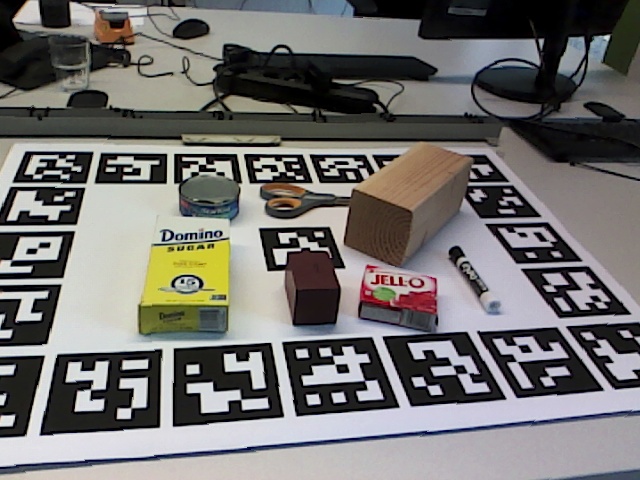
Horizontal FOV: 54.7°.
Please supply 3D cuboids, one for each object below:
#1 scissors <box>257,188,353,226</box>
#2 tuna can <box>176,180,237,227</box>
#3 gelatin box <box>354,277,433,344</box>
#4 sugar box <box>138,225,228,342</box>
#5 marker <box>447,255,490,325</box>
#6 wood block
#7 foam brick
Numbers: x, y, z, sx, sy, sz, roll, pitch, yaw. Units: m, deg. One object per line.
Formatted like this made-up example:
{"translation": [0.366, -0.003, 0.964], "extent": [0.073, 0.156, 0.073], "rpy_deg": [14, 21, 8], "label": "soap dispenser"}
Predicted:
{"translation": [0.005, -0.049, 0.933], "extent": [0.202, 0.016, 0.088], "rpy_deg": [2, 35, -3], "label": "scissors"}
{"translation": [-0.162, -0.050, 0.888], "extent": [0.085, 0.033, 0.086], "rpy_deg": [4, 36, -3], "label": "tuna can"}
{"translation": [0.090, 0.083, 0.746], "extent": [0.089, 0.030, 0.073], "rpy_deg": [10, 36, 5], "label": "gelatin box"}
{"translation": [-0.160, 0.047, 0.747], "extent": [0.093, 0.045, 0.177], "rpy_deg": [2, 35, -8], "label": "sugar box"}
{"translation": [0.190, 0.061, 0.800], "extent": [0.019, 0.019, 0.121], "rpy_deg": [0, 38, -10], "label": "marker"}
{"translation": [0.133, -0.042, 0.884], "extent": [0.090, 0.091, 0.205], "rpy_deg": [25, 38, 25], "label": "wood block"}
{"translation": [-0.012, 0.068, 0.726], "extent": [0.052, 0.051, 0.078], "rpy_deg": [0, 36, -9], "label": "foam brick"}
